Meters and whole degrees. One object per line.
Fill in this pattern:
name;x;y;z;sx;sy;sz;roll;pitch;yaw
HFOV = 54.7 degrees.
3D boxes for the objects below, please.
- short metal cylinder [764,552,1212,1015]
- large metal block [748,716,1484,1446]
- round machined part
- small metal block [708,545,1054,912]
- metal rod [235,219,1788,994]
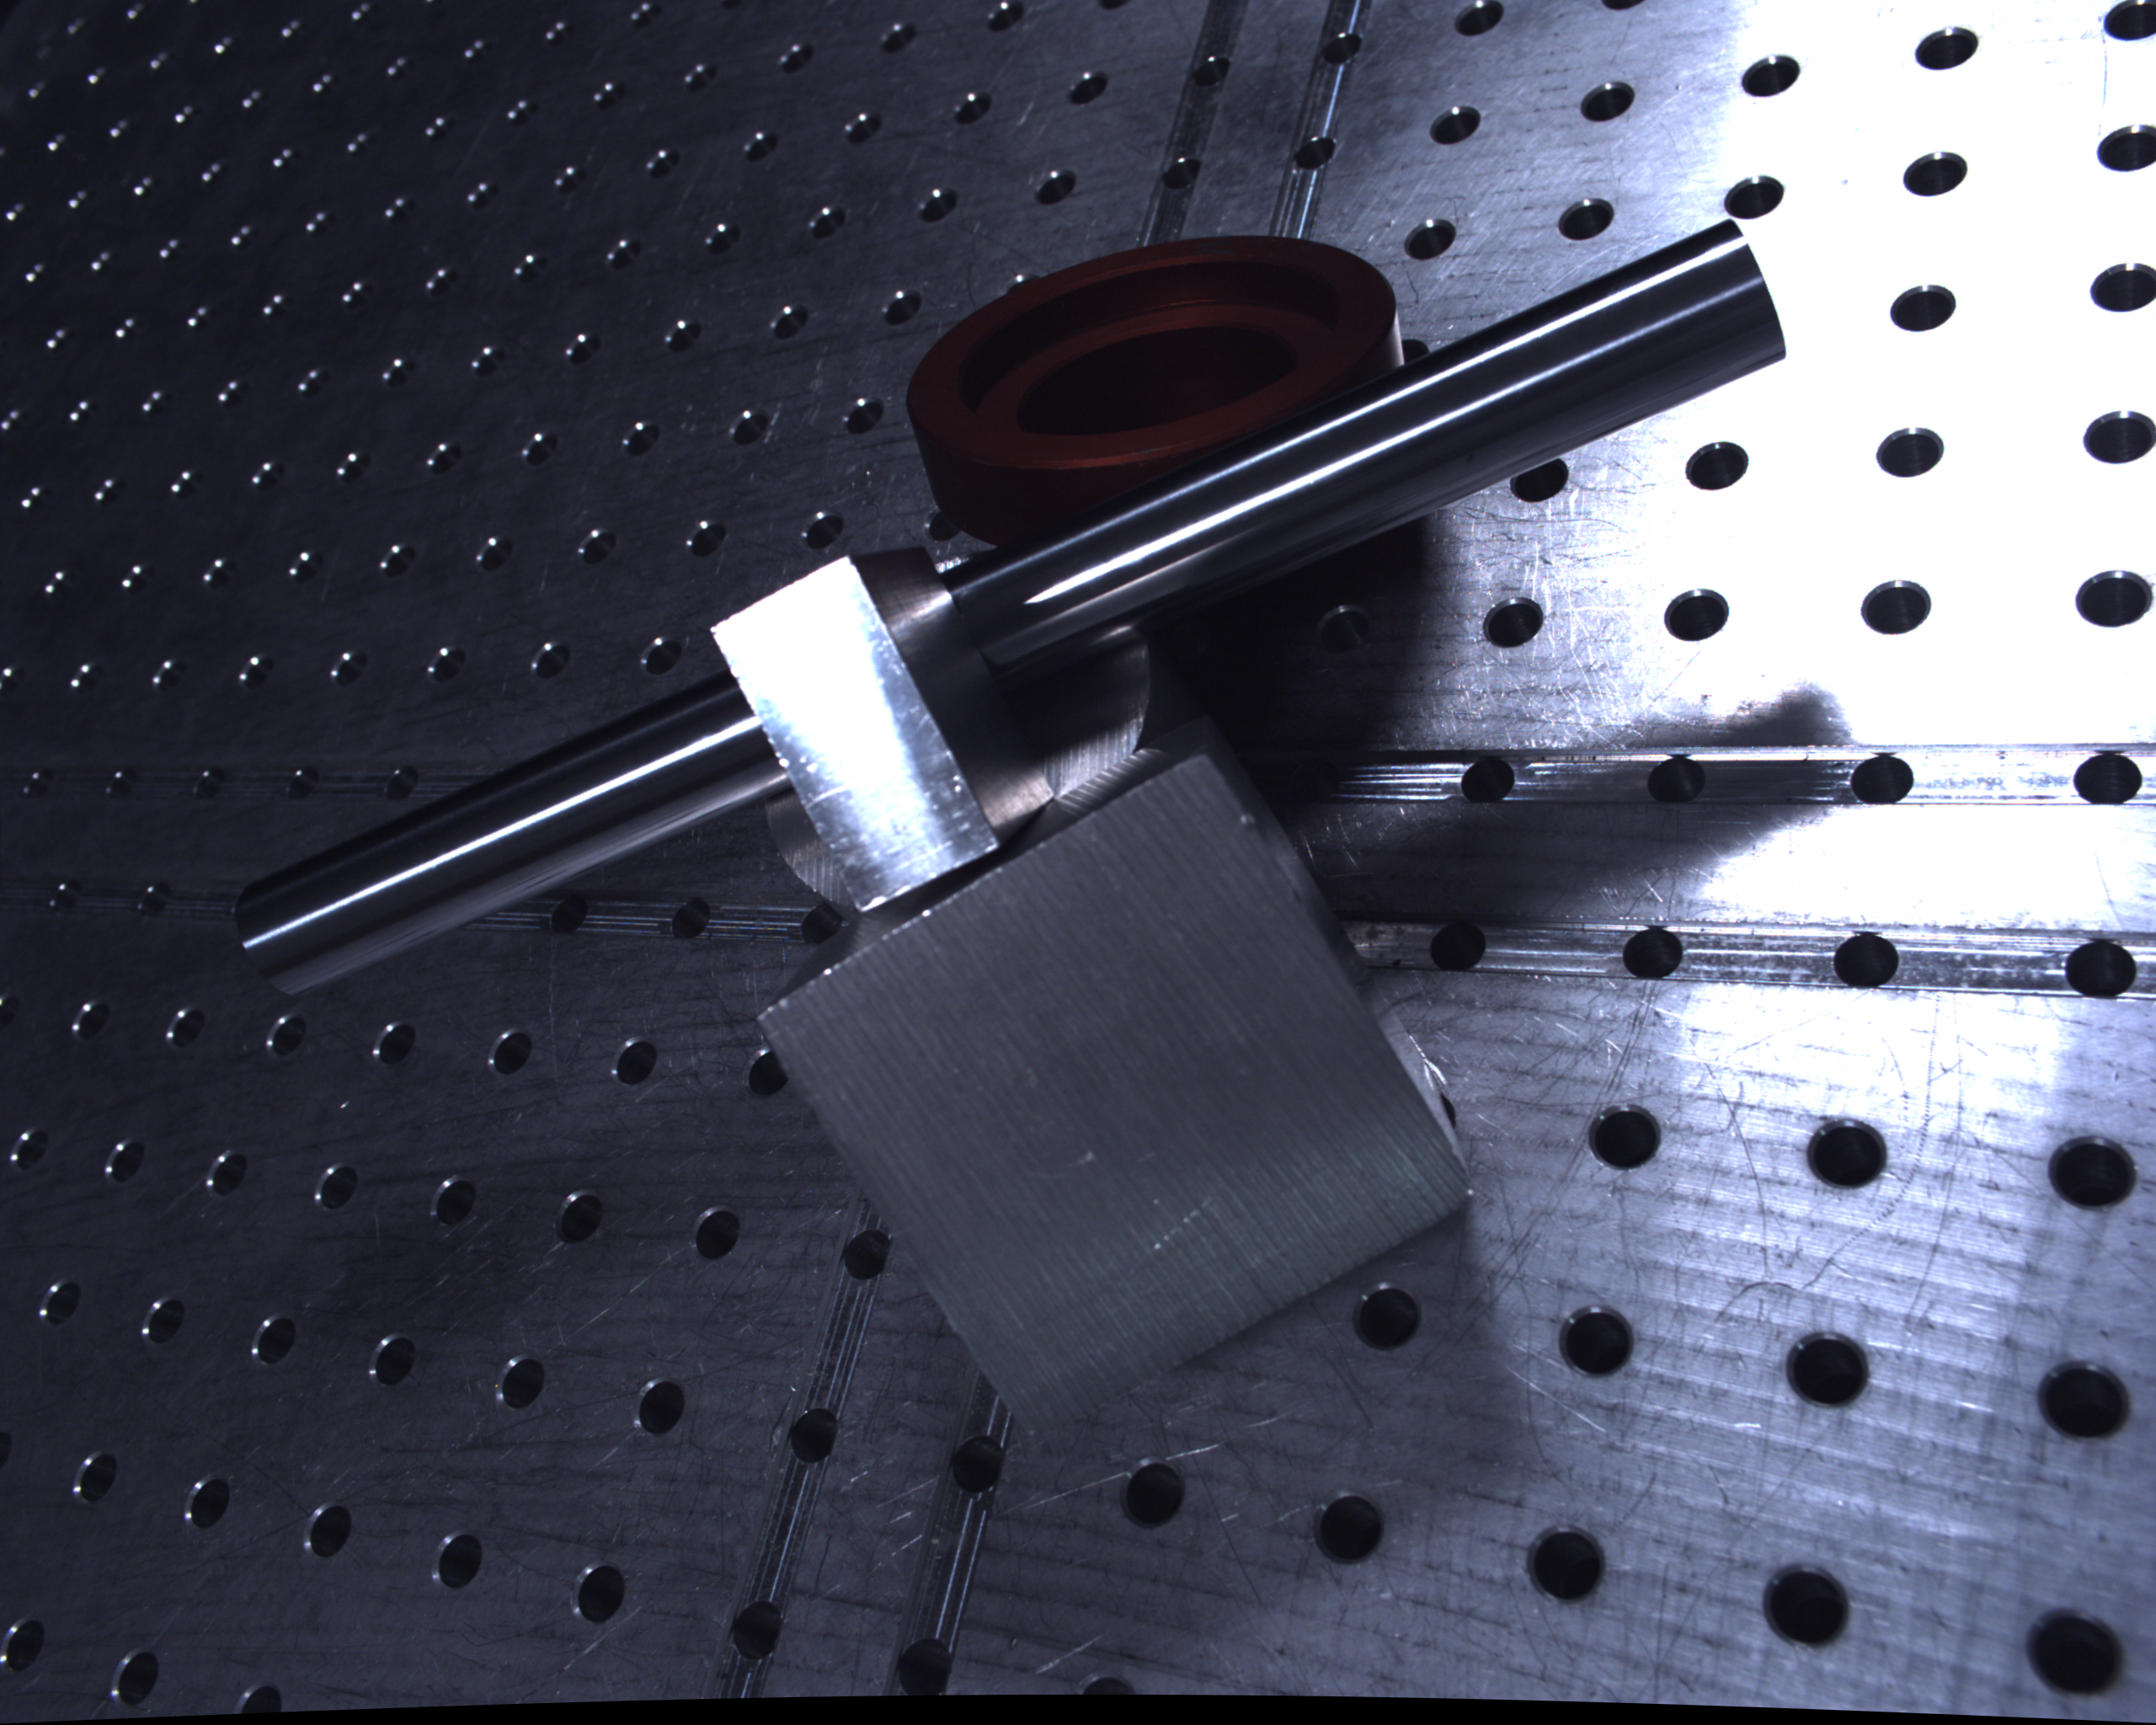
short metal cylinder;-0.013;-0.014;0.406;0.080;0.050;0.080;-13;56;20
large metal block;0.007;0.032;0.338;0.080;0.050;0.080;-31;97;8
round machined part;0.018;-0.088;0.426;0.098;0.042;0.098;-9;37;7
small metal block;-0.030;-0.024;0.343;0.025;0.050;0.050;-26;95;12
metal rod;-0.024;-0.040;0.379;0.301;0.025;0.025;-22;54;14
